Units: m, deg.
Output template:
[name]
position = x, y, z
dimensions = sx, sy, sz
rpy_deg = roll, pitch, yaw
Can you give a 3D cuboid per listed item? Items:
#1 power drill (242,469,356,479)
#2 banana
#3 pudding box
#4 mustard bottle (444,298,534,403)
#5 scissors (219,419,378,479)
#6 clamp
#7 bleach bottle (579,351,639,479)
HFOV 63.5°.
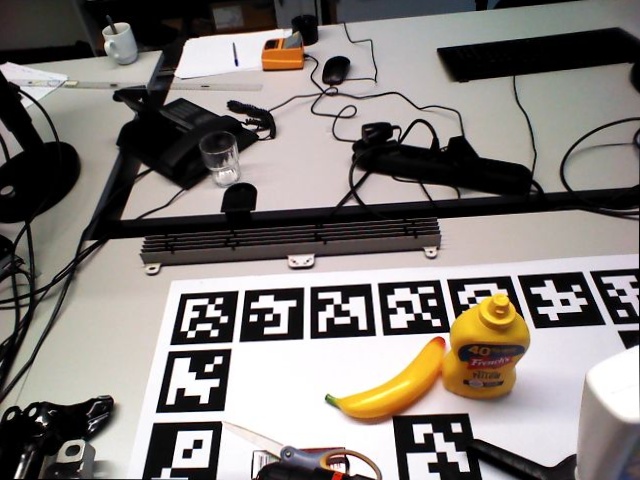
[power drill]
position = 0.023, 0.287, 0.490
dimensions = 0.185, 0.187, 0.057
rpy_deg = 5, 41, 16
[banana]
position = 0.111, 0.176, 0.713
dimensions = 0.196, 0.039, 0.074
rpy_deg = -34, 35, -21
[pudding box]
position = -0.027, 0.281, 0.609
dimensions = 0.114, 0.090, 0.038
rpy_deg = 0, 41, 8
[mustard bottle]
position = 0.212, 0.136, 0.645
dimensions = 0.096, 0.192, 0.058
rpy_deg = 8, 49, 14
[scissors]
position = -0.042, 0.233, 0.567
dimensions = 0.203, 0.016, 0.087
rpy_deg = 19, 57, 18
[clamp]
position = 0.289, 0.284, 0.576
dimensions = 0.203, 0.037, 0.164
rpy_deg = -7, 49, 0
[bleach bottle]
position = 0.313, 0.199, 0.506
dimensions = 0.103, 0.251, 0.068
rpy_deg = -22, 44, -2
